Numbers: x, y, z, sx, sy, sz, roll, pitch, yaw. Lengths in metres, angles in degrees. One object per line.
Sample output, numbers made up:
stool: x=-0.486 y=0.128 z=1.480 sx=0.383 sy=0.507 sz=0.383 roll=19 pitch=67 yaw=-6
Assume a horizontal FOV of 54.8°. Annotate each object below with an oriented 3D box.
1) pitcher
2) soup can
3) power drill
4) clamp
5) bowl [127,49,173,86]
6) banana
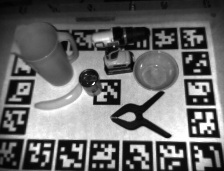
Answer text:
pitcher: x=-0.218 y=-0.120 z=0.739 sx=0.189 sy=0.244 sz=0.132 roll=-23 pitch=67 yaw=-2
soup can: x=-0.093 y=-0.037 z=0.775 sx=0.068 sy=0.103 sz=0.067 roll=-2 pitch=62 yaw=5
power drill: x=0.022 y=-0.148 z=0.737 sx=0.184 sy=0.188 sz=0.057 roll=-4 pitch=71 yaw=4
clamp: x=0.071 y=0.085 z=0.746 sx=0.202 sy=0.037 sz=0.165 roll=-2 pitch=75 yaw=4
bowl: x=0.137 y=-0.065 z=0.788 sx=0.161 sy=0.055 sz=0.161 roll=-1 pitch=72 yaw=5
banana: x=-0.215 y=0.021 z=0.801 sx=0.198 sy=0.039 sz=0.073 roll=-23 pitch=62 yaw=-5
